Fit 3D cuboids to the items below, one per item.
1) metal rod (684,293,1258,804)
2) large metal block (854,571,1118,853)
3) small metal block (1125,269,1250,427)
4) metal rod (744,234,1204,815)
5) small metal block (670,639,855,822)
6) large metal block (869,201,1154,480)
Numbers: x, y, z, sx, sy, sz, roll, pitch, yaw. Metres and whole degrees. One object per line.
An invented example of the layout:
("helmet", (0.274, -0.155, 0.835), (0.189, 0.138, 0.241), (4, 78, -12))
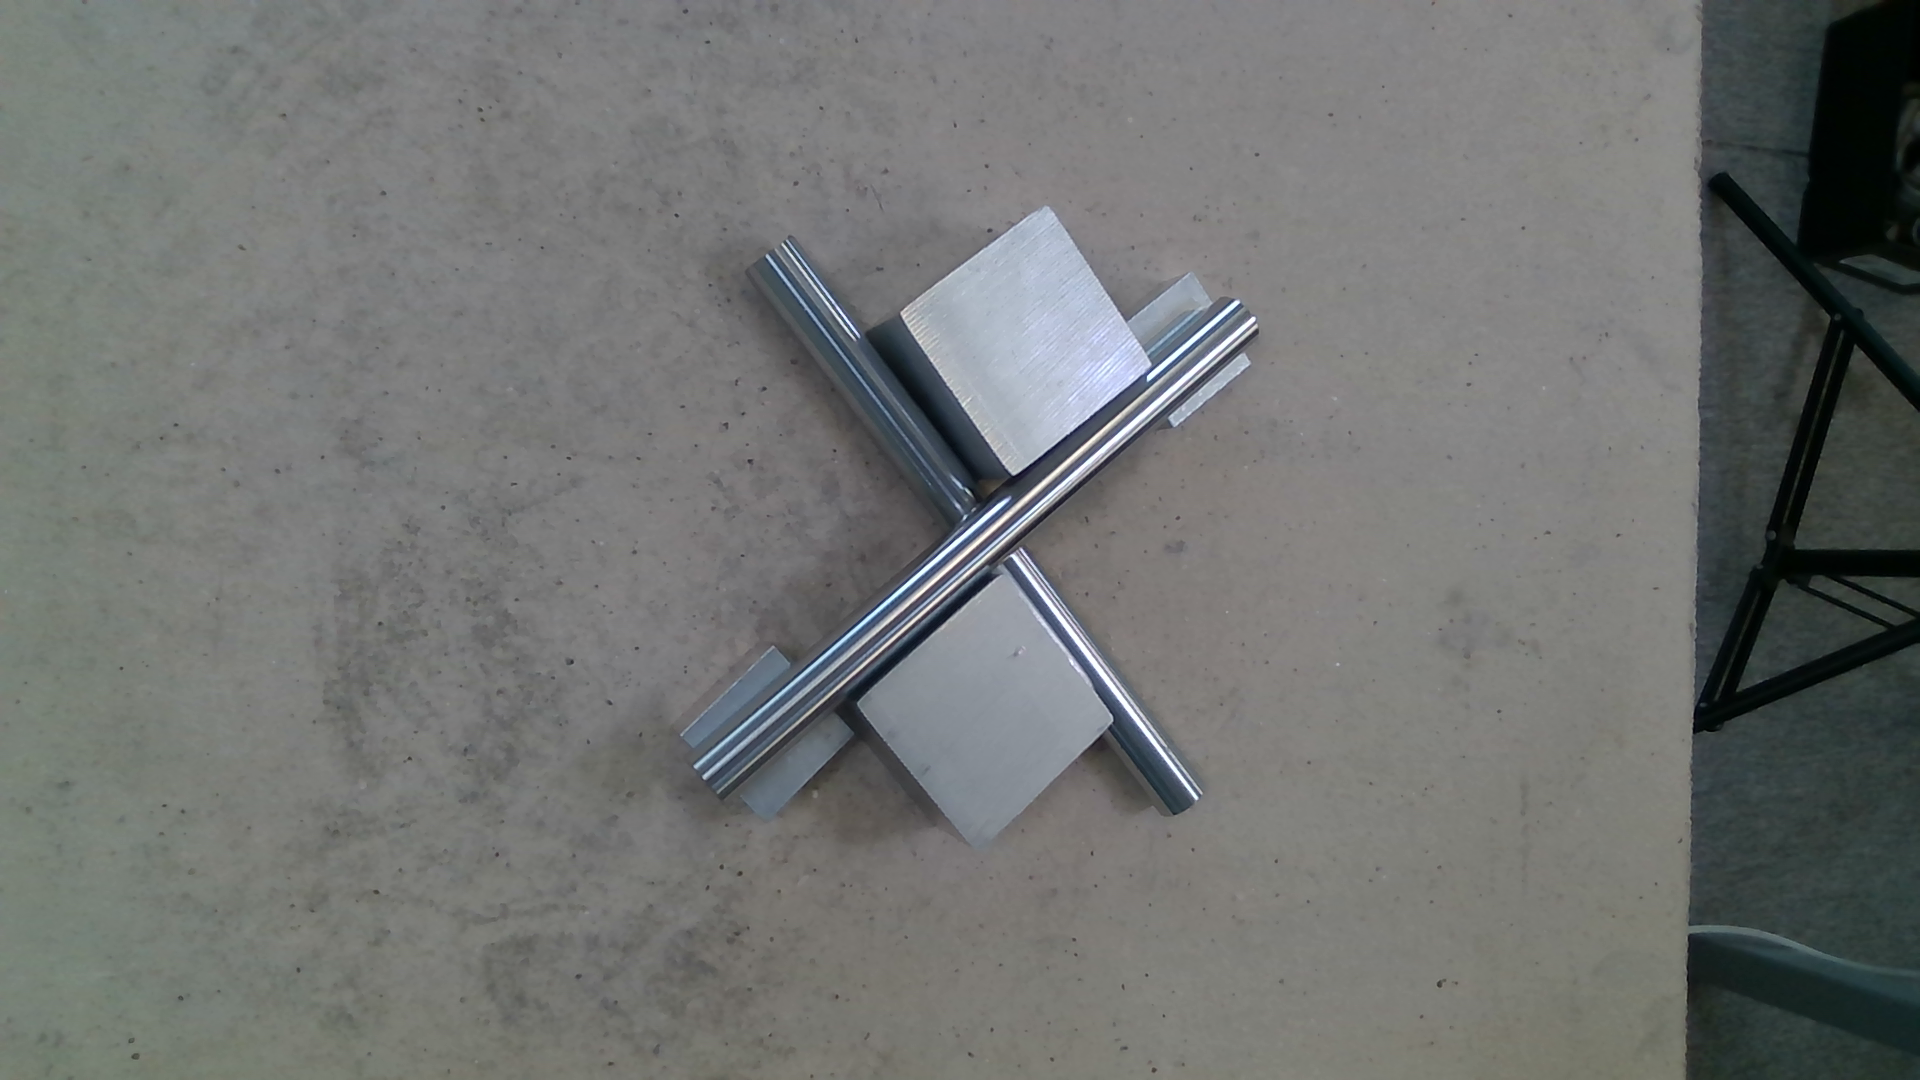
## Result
("metal rod", (0.012, -0.003, 0.564), (0.300, 0.025, 0.025), (-41, 103, -15))
("large metal block", (0.004, 0.069, 0.575), (0.080, 0.050, 0.080), (-41, 103, -15))
("small metal block", (0.094, -0.085, 0.622), (0.050, 0.025, 0.050), (-39, 103, -16))
("metal rod", (0.011, 0.000, 0.592), (0.025, 0.025, 0.300), (-41, 103, -16))
("small metal block", (-0.080, 0.076, 0.558), (0.050, 0.025, 0.050), (-45, 104, -15))
("large metal block", (0.020, -0.081, 0.578), (0.080, 0.050, 0.080), (-39, 103, -16))
